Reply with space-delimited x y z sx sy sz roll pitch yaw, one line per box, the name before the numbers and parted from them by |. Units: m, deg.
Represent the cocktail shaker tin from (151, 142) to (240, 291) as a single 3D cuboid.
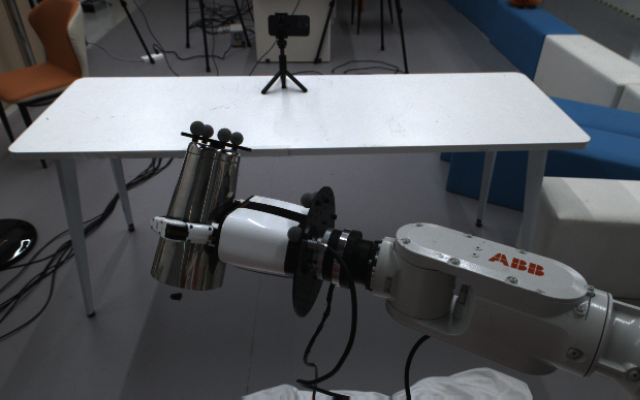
cocktail shaker tin | -0.150 0.018 0.614 0.093 0.170 0.093 13 5 -1
